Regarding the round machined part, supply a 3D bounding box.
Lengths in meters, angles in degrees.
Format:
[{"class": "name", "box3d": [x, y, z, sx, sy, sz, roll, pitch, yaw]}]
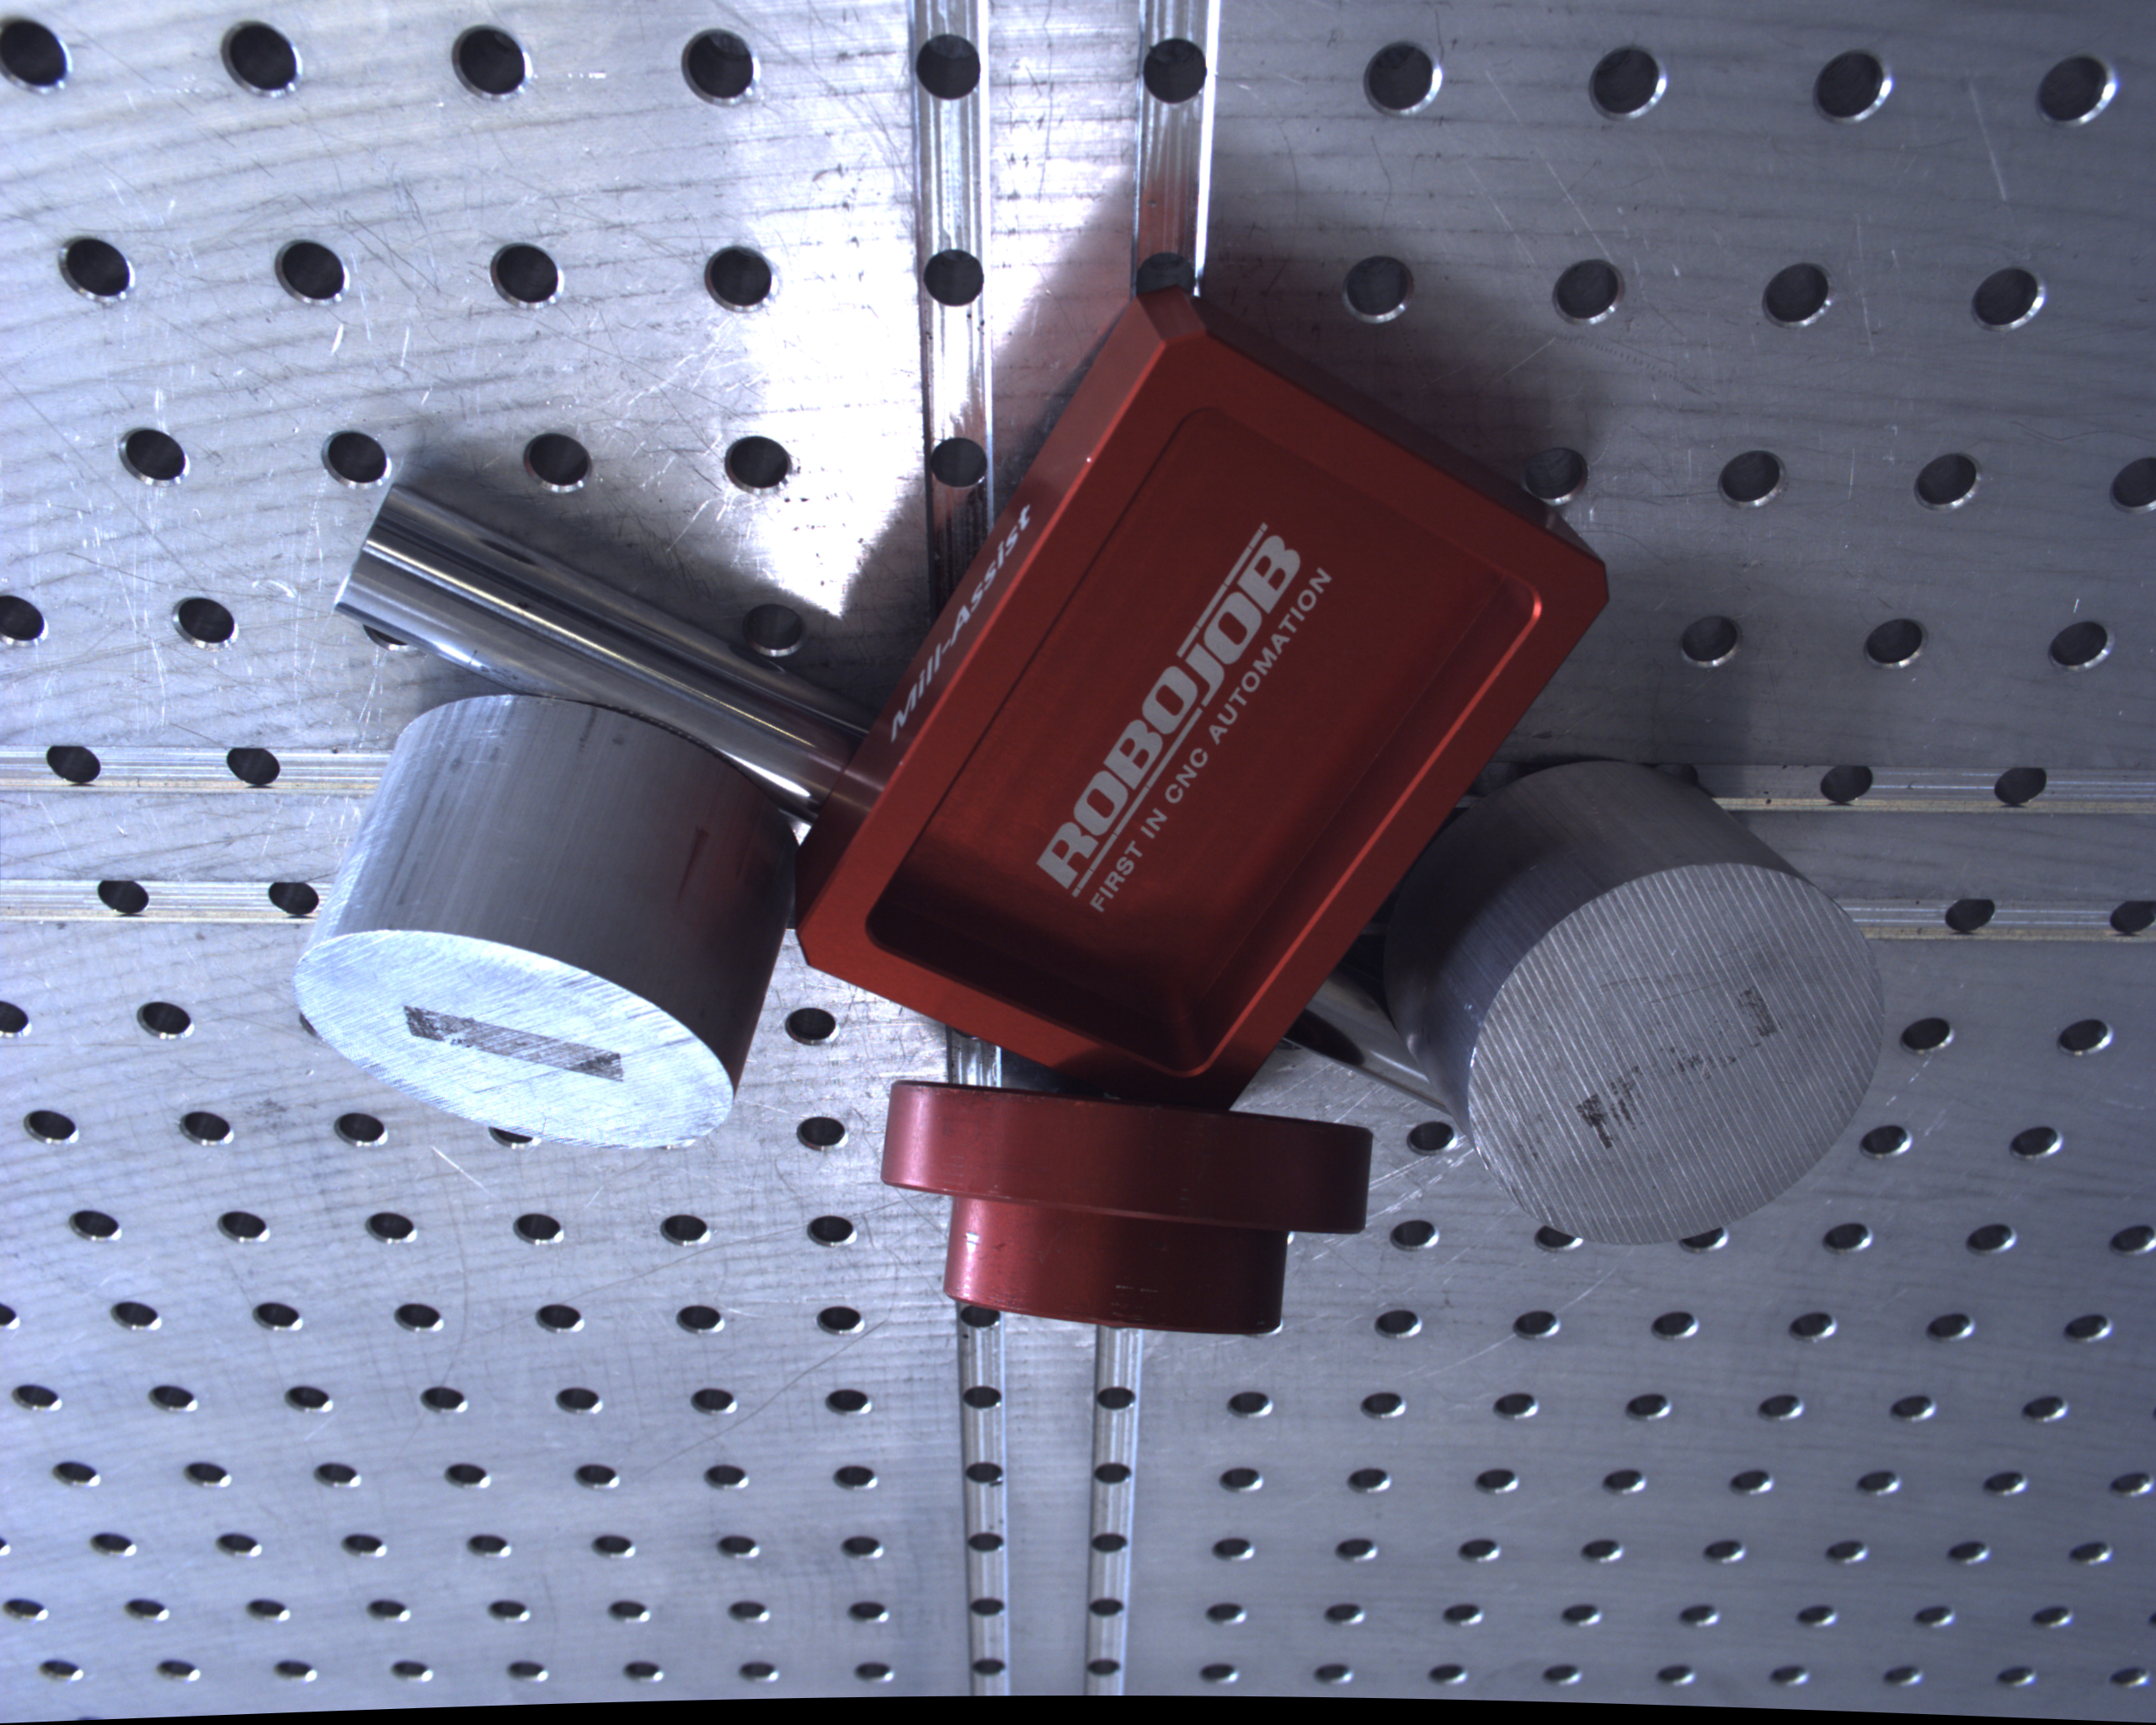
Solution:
[{"class": "round machined part", "box3d": [0.009, 0.071, 0.425, 0.099, 0.042, 0.098, 6, 173, 1]}]

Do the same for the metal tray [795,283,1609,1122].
[{"class": "metal tray", "box3d": [0.019, -0.023, 0.370, 0.090, 0.030, 0.129, 25, 112, -20]}]

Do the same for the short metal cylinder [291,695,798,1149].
[{"class": "short metal cylinder", "box3d": [-0.097, 0.013, 0.390, 0.080, 0.050, 0.080, 8, 147, 5]}]

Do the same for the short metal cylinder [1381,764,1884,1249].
[{"class": "short metal cylinder", "box3d": [0.105, 0.027, 0.403, 0.081, 0.050, 0.079, -4, 114, -10]}]

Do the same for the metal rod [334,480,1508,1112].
[{"class": "metal rod", "box3d": [0.004, 0.005, 0.415, 0.302, 0.025, 0.025, 25, 126, -20]}]
